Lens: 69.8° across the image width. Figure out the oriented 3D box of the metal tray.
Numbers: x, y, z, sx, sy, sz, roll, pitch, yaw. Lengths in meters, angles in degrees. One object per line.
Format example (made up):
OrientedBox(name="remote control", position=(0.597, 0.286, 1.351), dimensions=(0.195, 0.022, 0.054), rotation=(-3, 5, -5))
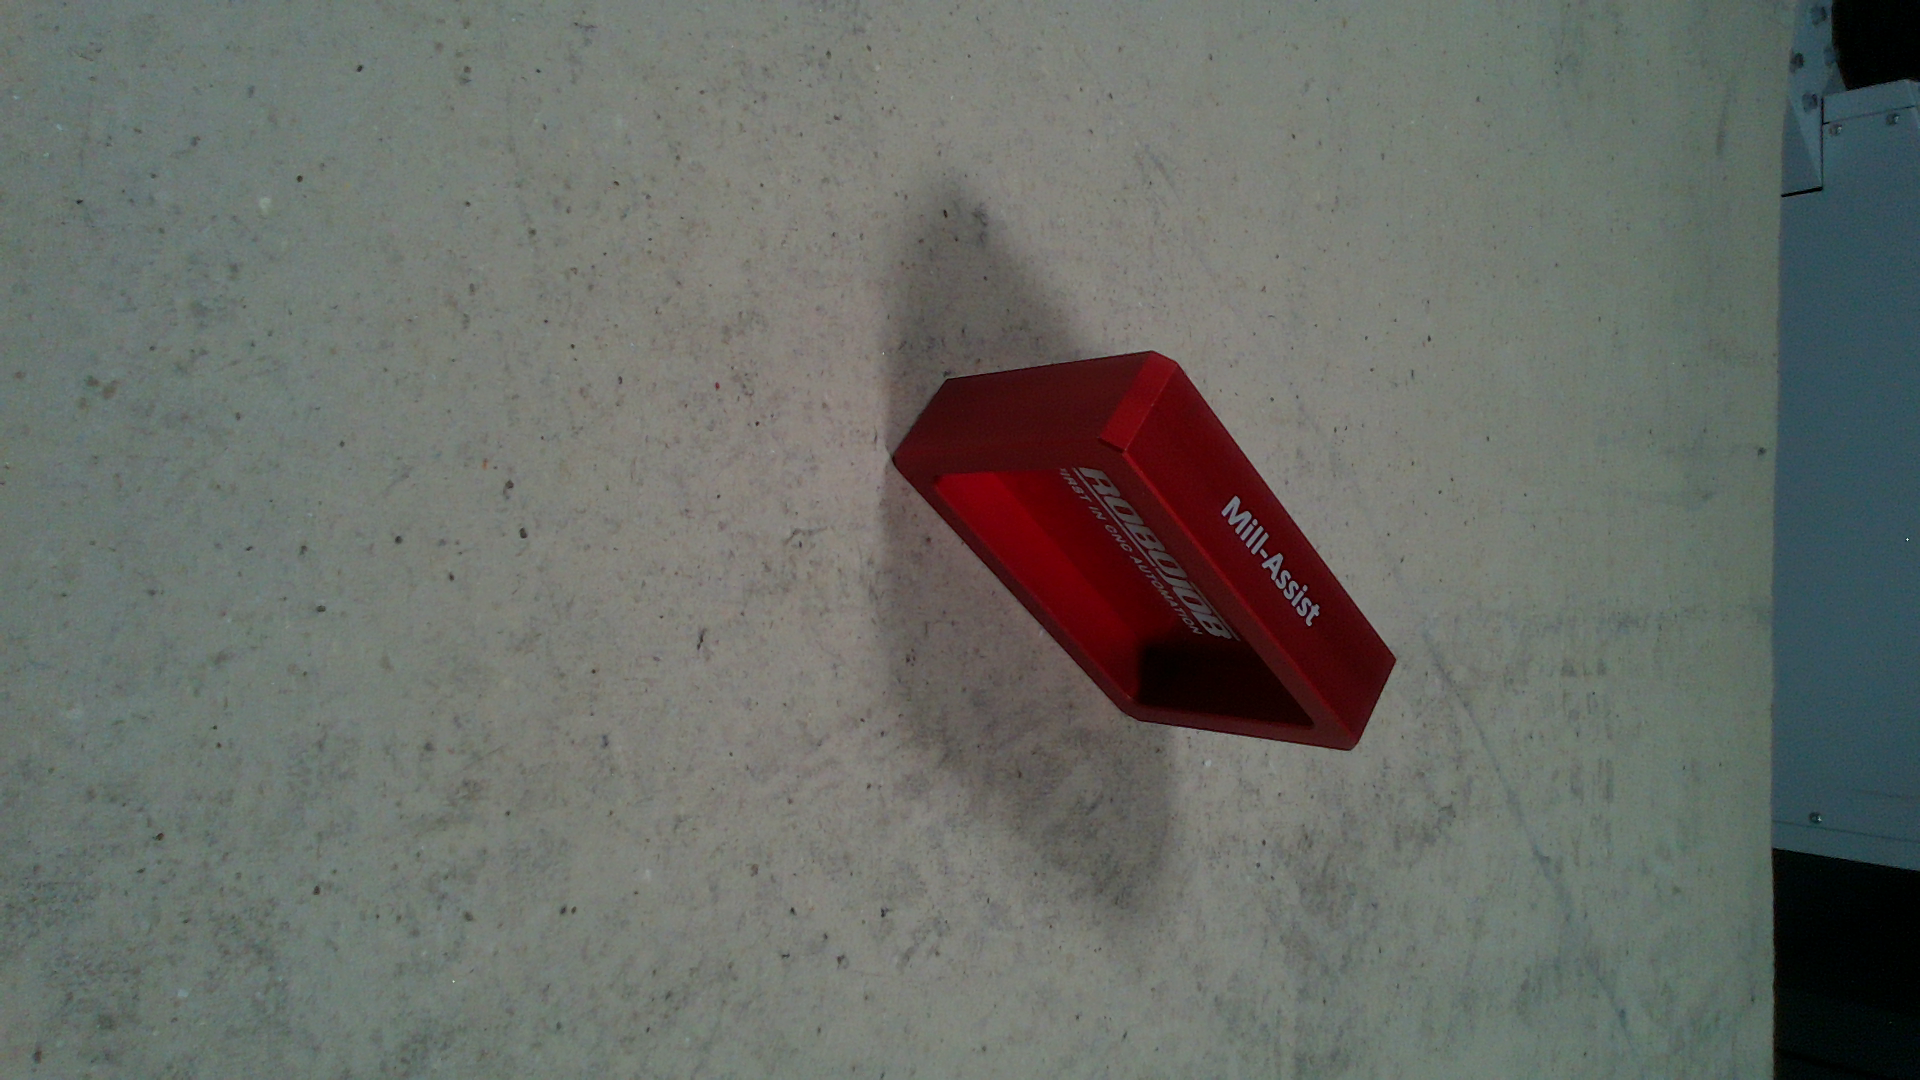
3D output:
OrientedBox(name="metal tray", position=(0.052, 0.006, 0.391), dimensions=(0.130, 0.090, 0.030), rotation=(47, 62, -30))
